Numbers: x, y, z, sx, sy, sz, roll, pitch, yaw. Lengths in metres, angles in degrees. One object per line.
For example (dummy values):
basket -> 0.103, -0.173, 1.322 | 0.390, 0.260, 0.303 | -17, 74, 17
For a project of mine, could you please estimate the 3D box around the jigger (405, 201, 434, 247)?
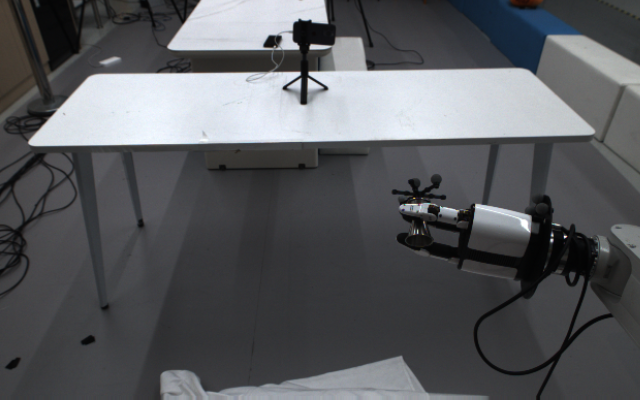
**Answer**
jigger -> 0.156, 0.033, 0.774 | 0.043, 0.043, 0.071 | 4, 61, 3
